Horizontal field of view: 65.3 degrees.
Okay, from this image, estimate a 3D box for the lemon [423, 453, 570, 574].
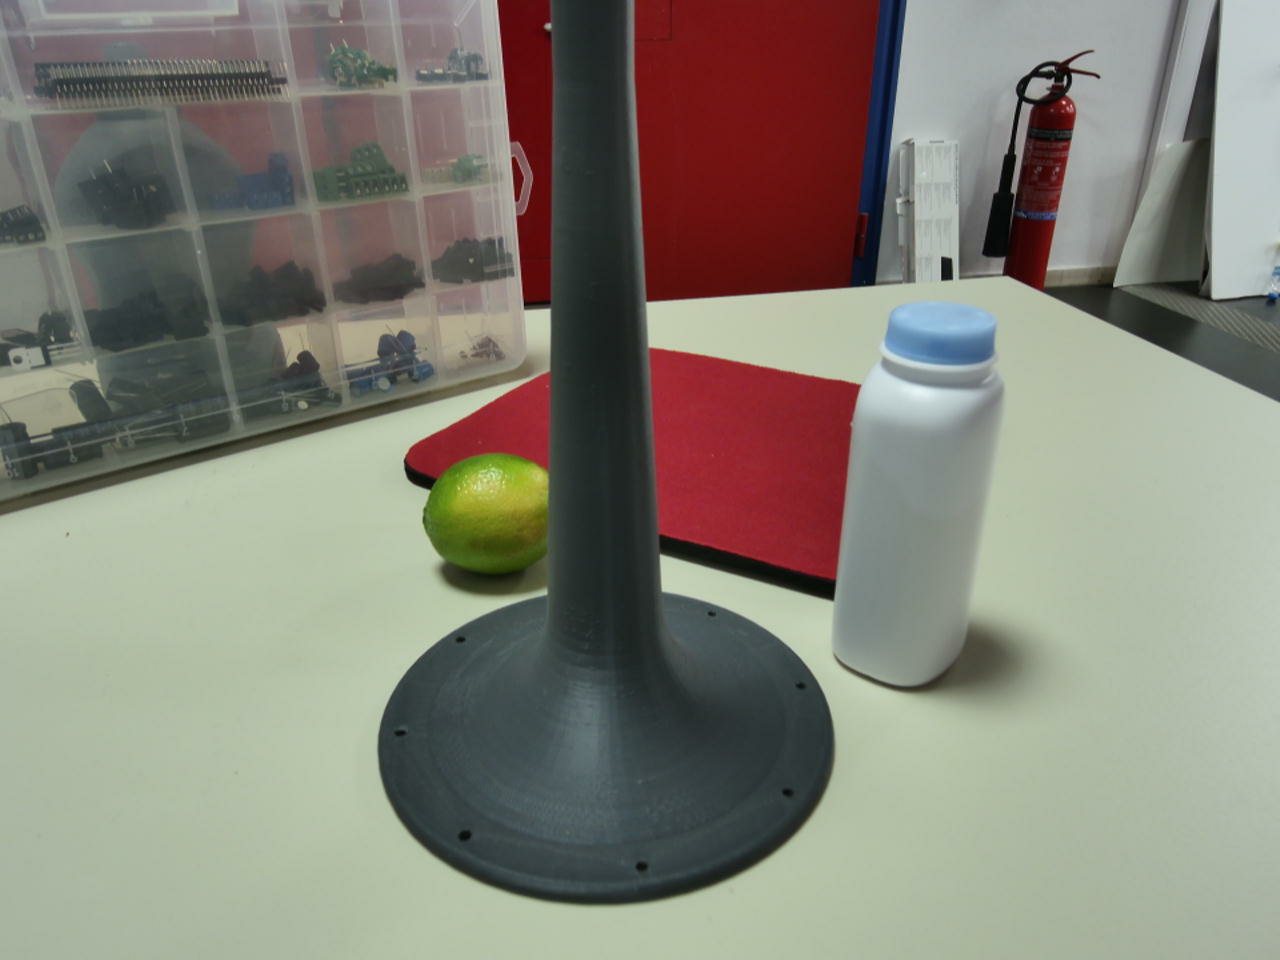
[{"bbox_3d":[-0.061,0.014,0.421,0.055,0.050,0.054,17,29,33],"label":"lemon"}]
